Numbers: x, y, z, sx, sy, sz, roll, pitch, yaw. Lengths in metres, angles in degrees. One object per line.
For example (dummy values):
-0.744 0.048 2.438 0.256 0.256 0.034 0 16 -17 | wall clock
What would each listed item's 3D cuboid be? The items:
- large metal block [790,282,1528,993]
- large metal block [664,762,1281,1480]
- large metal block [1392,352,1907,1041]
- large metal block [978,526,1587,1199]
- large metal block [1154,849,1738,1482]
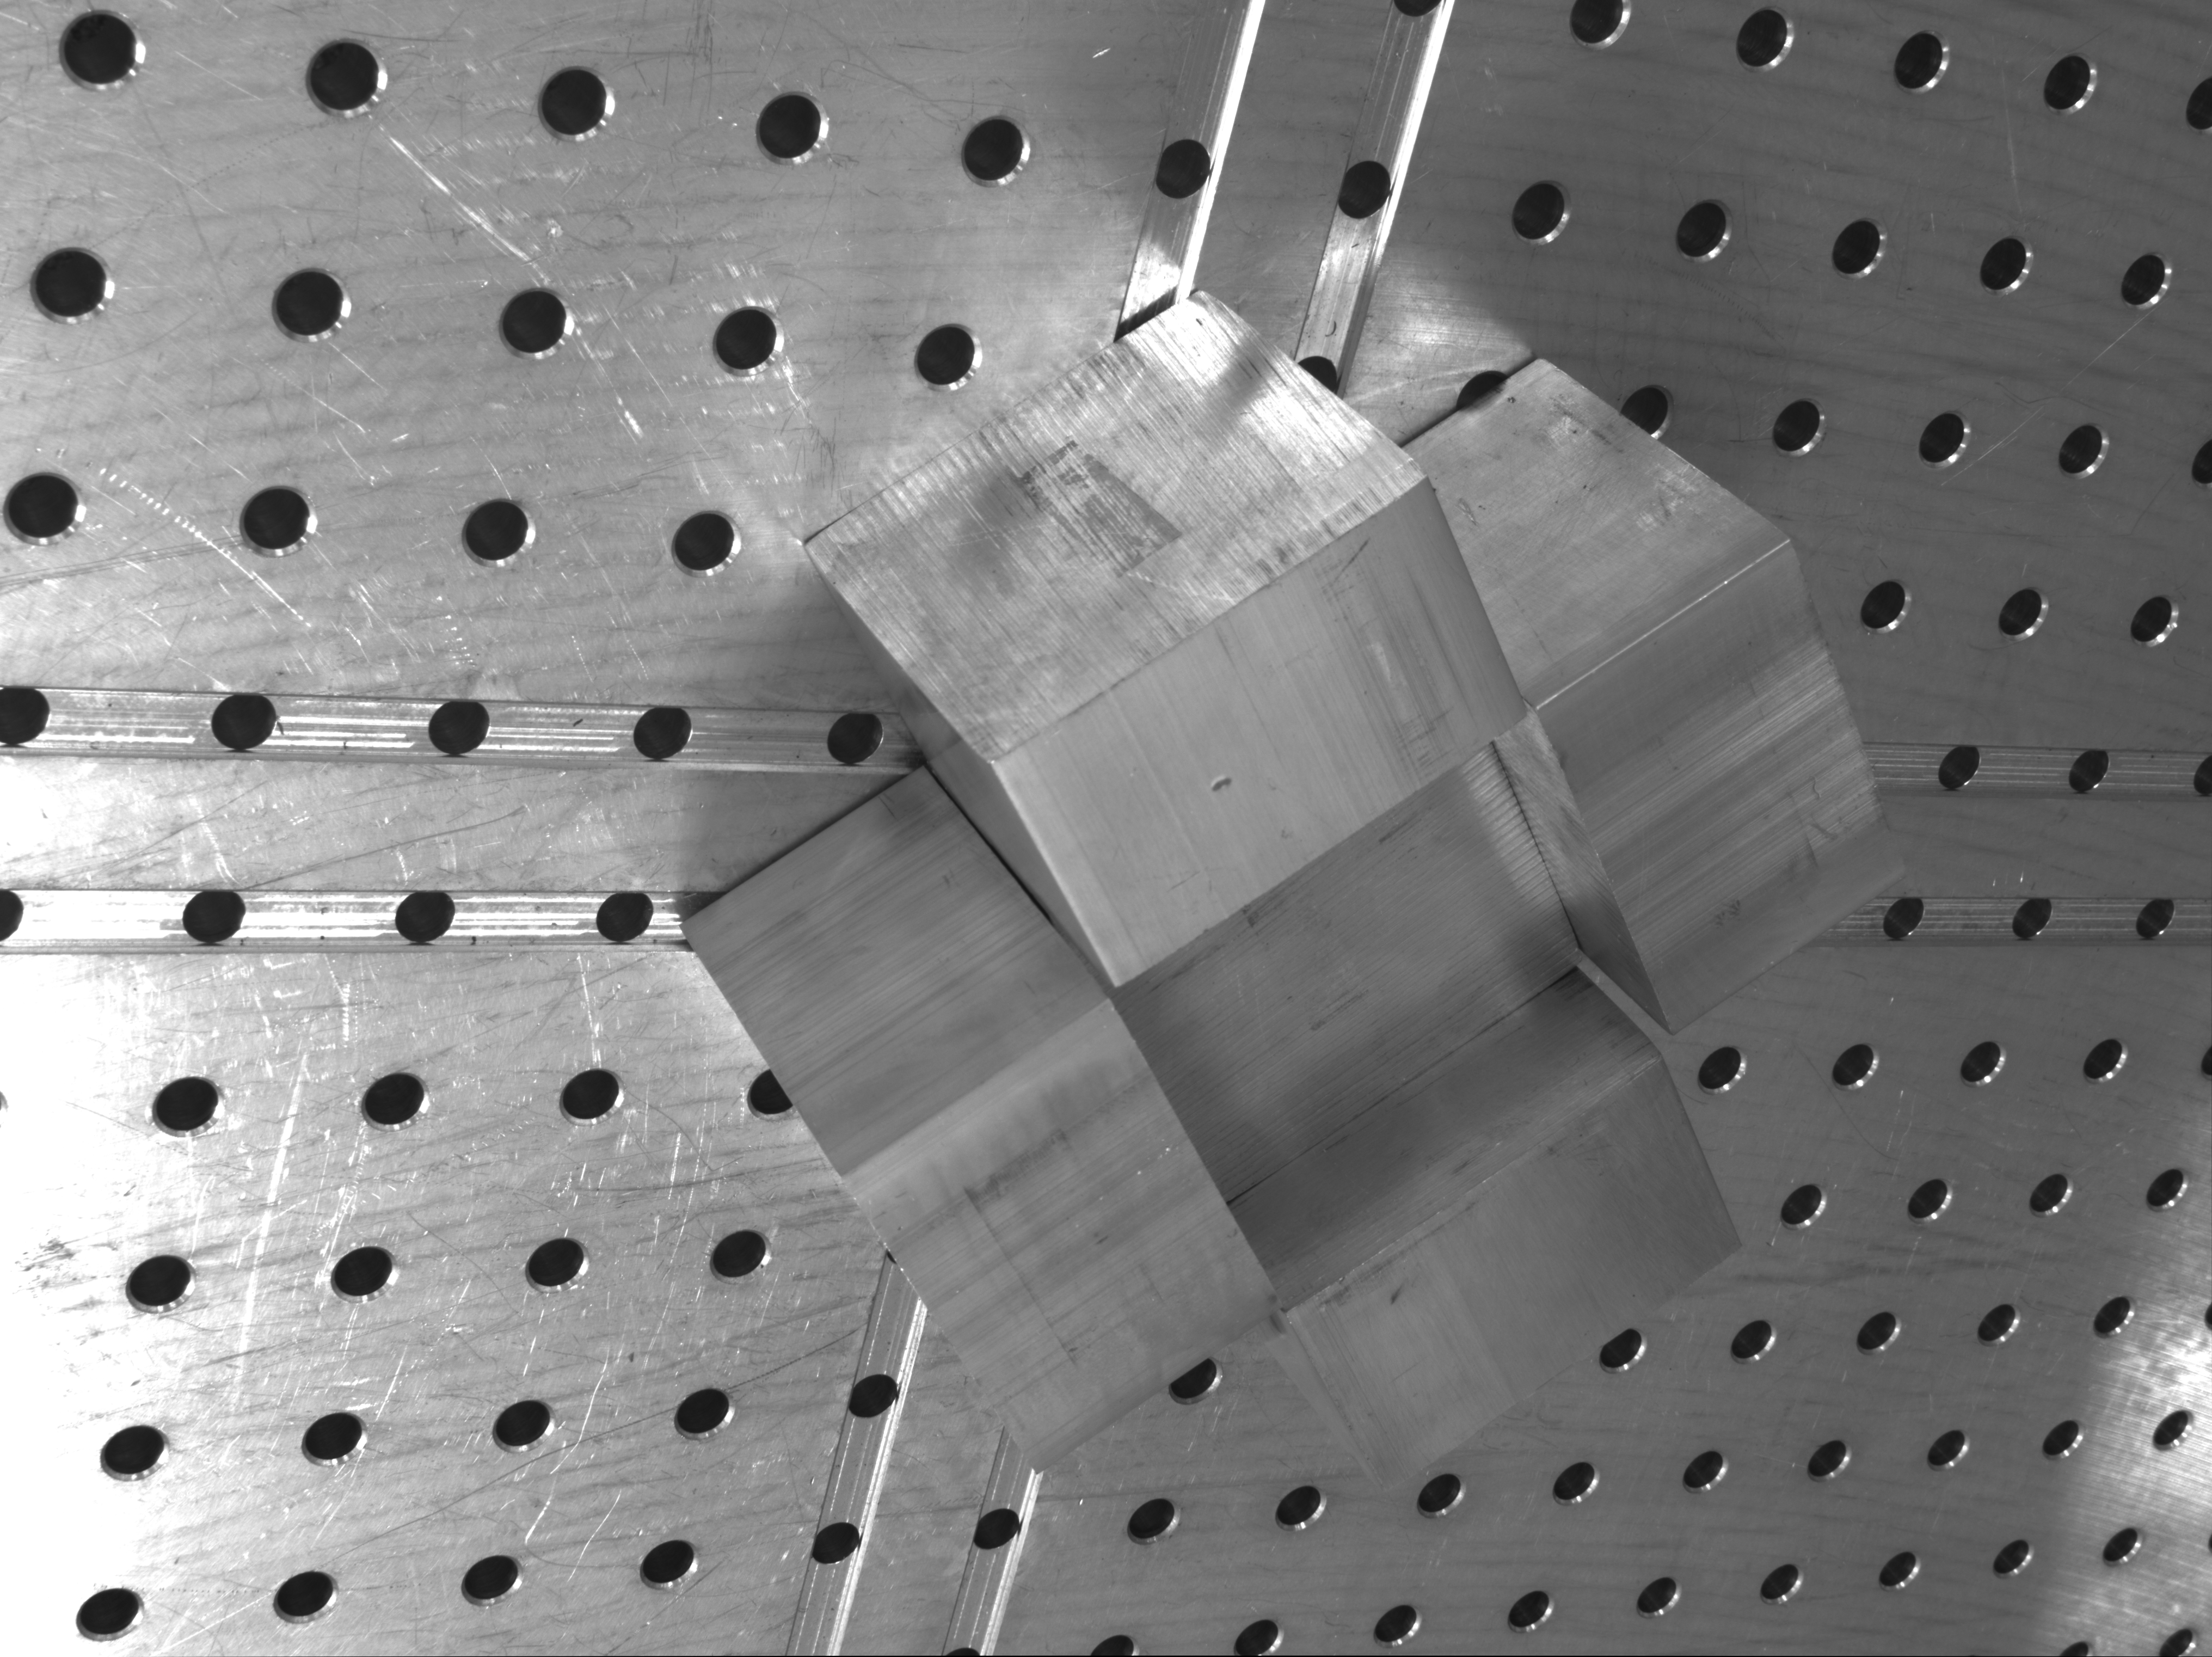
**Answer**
0.007 -0.033 0.590 0.080 0.080 0.050 -34 129 -6 | large metal block
-0.023 0.049 0.622 0.050 0.080 0.080 -34 129 -6 | large metal block
0.086 -0.024 0.637 0.050 0.080 0.080 -34 129 -6 | large metal block
0.027 0.006 0.641 0.080 0.050 0.080 -32 127 -5 | large metal block
0.055 0.058 0.672 0.080 0.080 0.050 -32 128 -7 | large metal block
